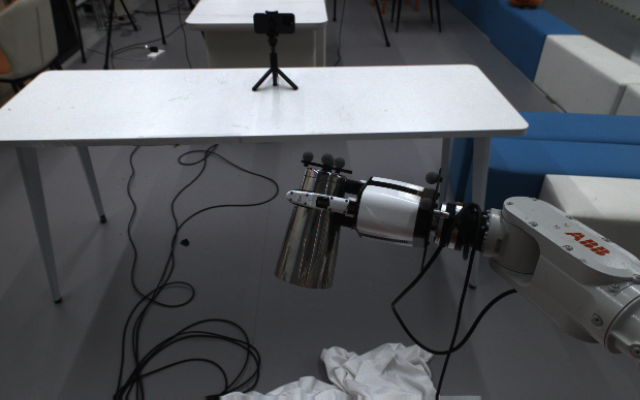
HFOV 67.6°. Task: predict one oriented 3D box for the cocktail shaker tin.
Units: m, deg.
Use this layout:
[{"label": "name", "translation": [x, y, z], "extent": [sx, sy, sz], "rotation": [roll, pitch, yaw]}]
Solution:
[{"label": "cocktail shaker tin", "translation": [-0.007, 0.039, 0.747], "extent": [0.093, 0.170, 0.093], "rotation": [13, 3, -1]}]
